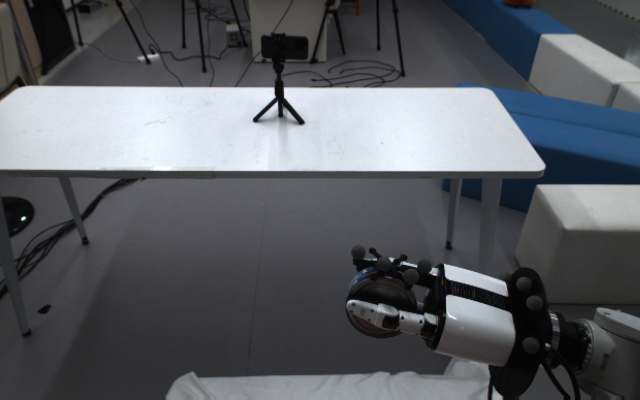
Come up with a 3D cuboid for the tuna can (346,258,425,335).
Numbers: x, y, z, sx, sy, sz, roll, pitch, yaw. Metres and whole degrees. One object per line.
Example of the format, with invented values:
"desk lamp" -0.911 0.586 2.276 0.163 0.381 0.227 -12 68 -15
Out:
"tuna can" 0.077 0.122 0.593 0.085 0.085 0.034 5 18 4
